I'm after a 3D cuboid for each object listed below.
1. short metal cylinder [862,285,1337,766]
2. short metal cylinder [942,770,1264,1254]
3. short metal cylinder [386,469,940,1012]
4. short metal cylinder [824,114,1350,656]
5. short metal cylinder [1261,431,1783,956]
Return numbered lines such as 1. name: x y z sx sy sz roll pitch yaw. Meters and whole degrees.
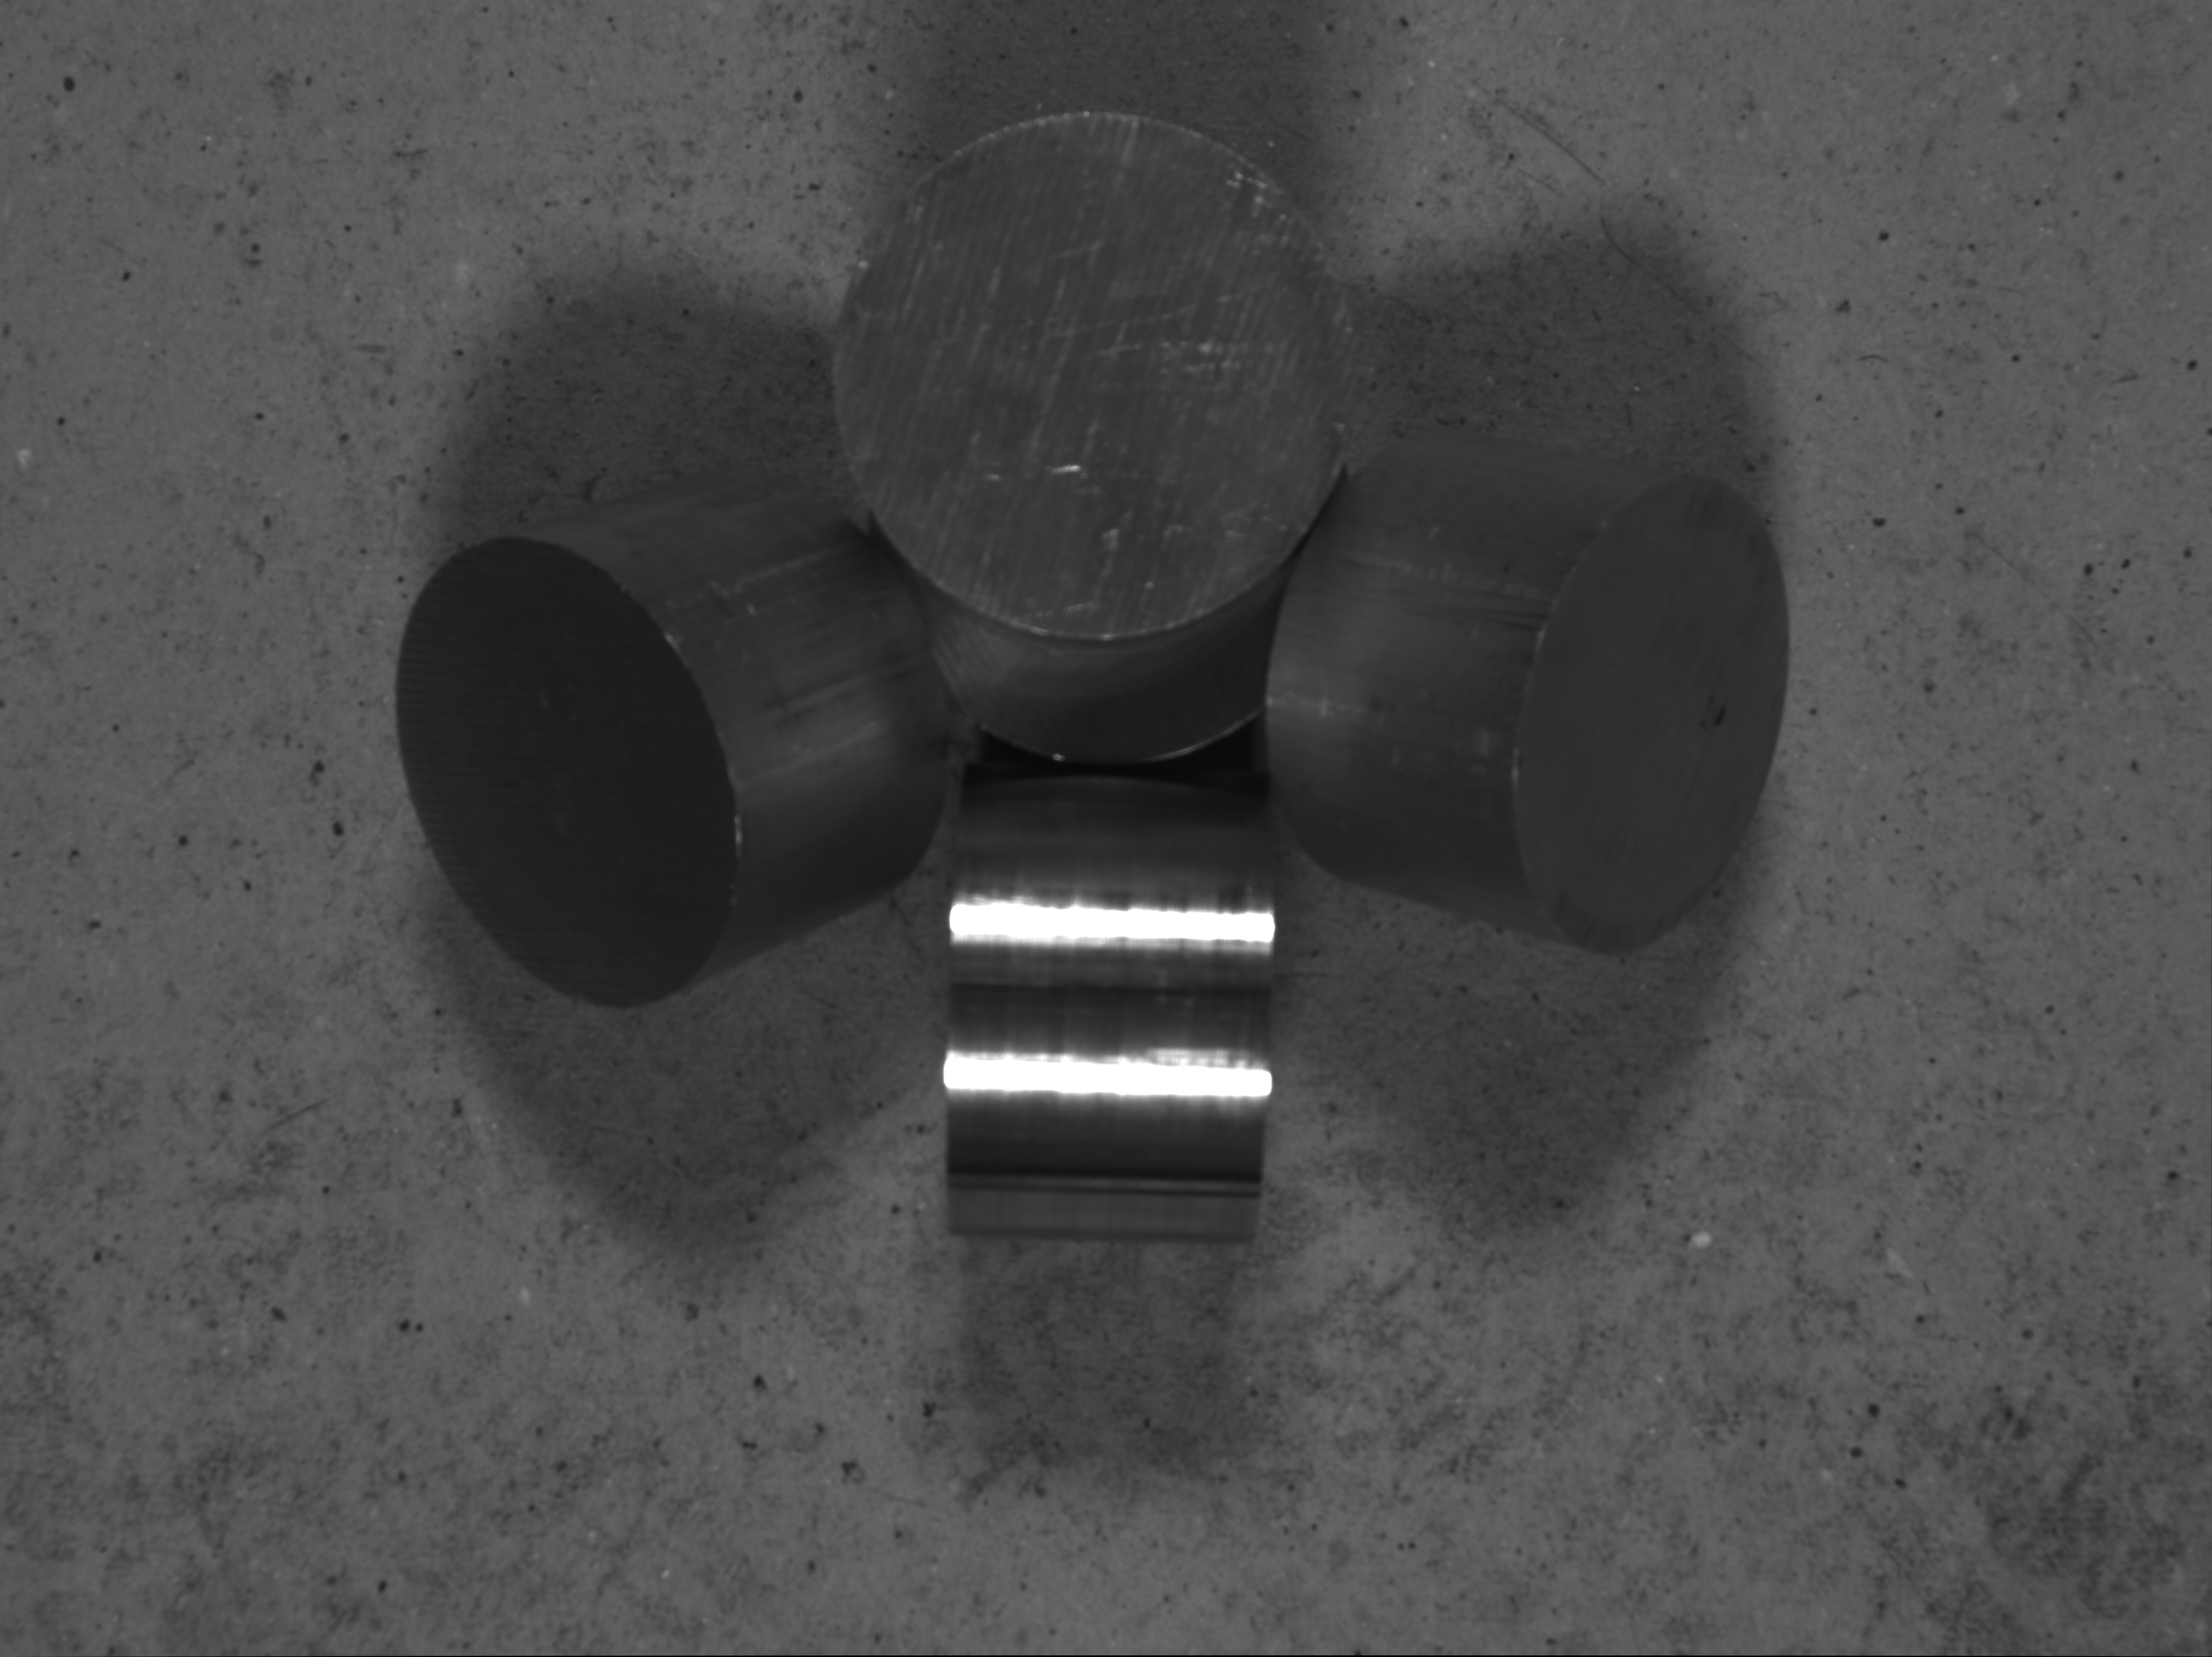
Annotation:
1. short metal cylinder: -0.001 -0.050 0.633 0.080 0.050 0.080 0 90 0
2. short metal cylinder: -0.001 0.031 0.617 0.050 0.080 0.080 2 90 0
3. short metal cylinder: -0.074 -0.015 0.612 0.080 0.050 0.080 17 117 35
4. short metal cylinder: -0.003 -0.069 0.582 0.080 0.050 0.080 0 90 0
5. short metal cylinder: 0.070 -0.023 0.613 0.050 0.080 0.080 15 90 38
